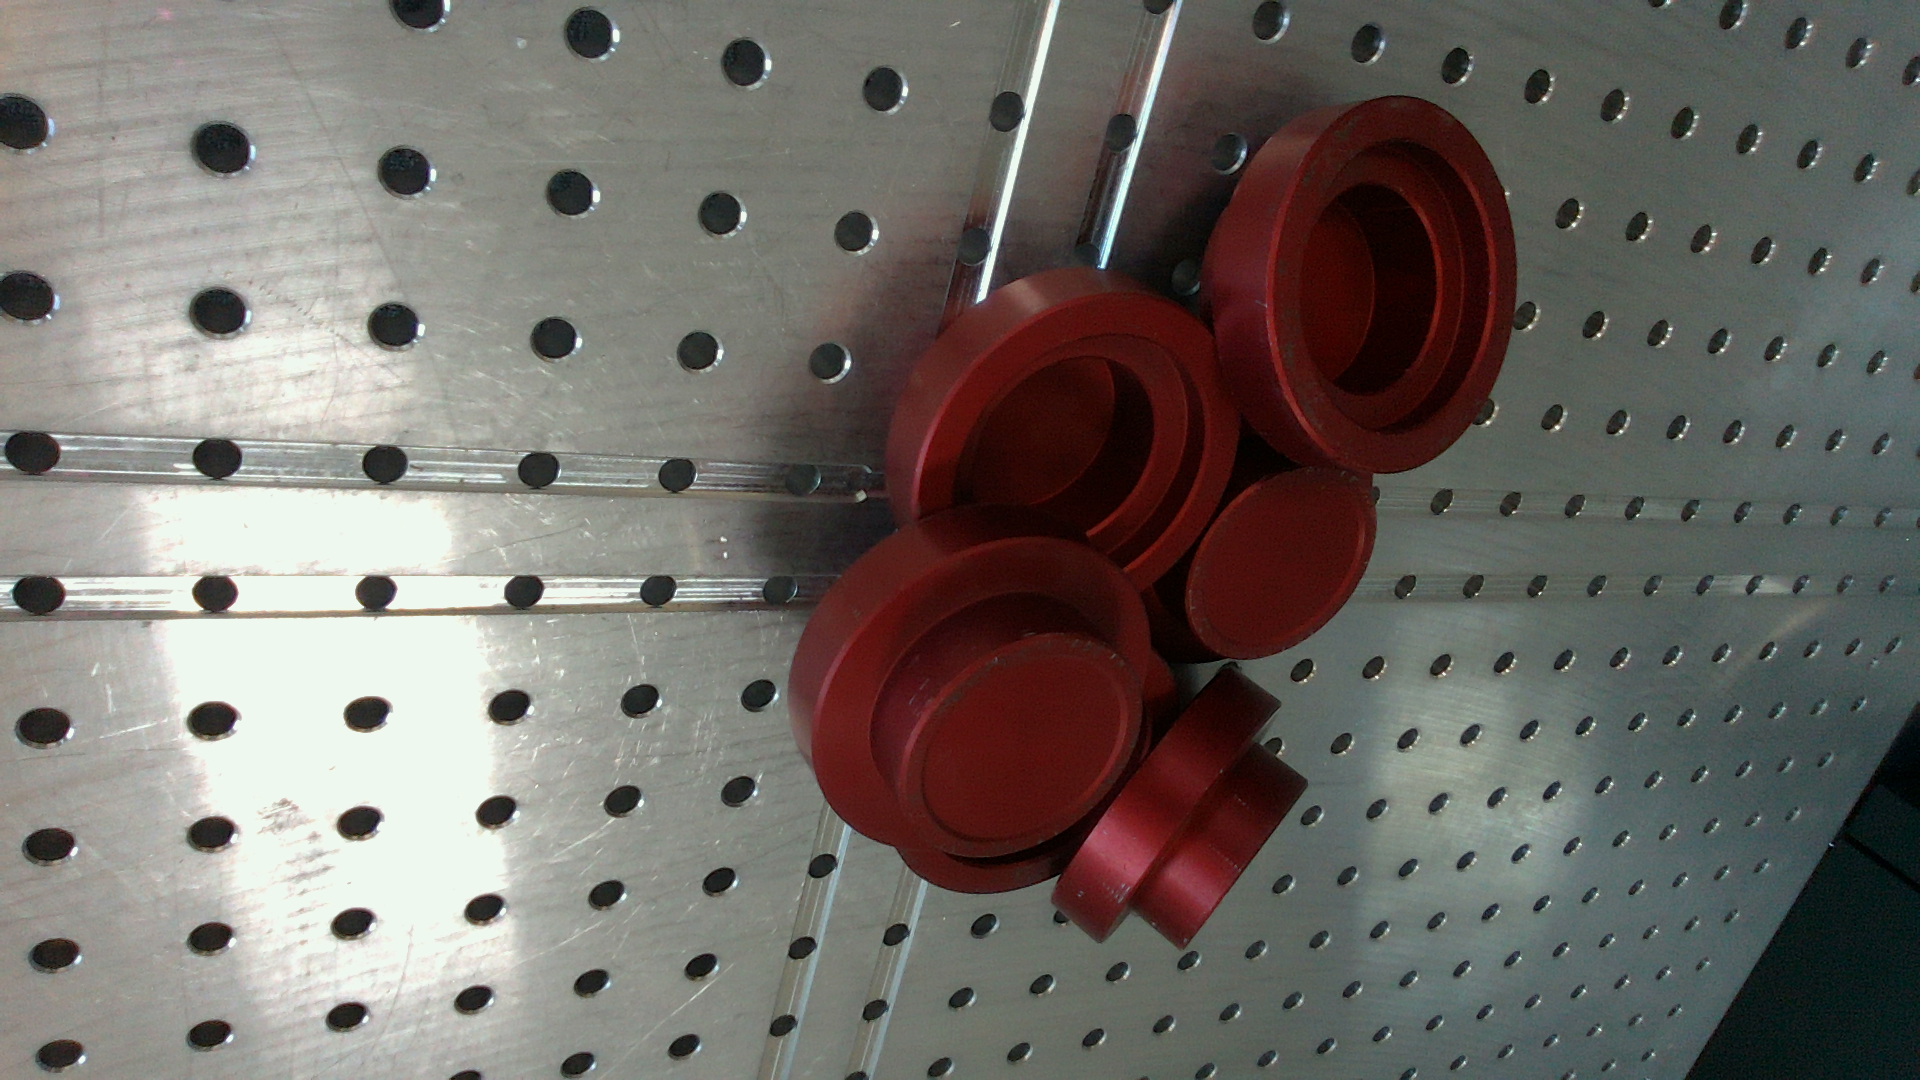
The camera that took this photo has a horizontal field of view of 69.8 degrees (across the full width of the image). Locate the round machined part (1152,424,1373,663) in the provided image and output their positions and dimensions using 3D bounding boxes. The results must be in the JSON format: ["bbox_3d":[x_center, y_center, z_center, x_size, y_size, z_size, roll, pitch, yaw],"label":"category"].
[{"bbox_3d":[0.088,-0.002,0.427,0.098,0.042,0.098,-14,124,-21],"label":"round machined part"}]

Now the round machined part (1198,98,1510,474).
[{"bbox_3d":[0.105,-0.069,0.381,0.098,0.042,0.098,-6,101,-34],"label":"round machined part"}]

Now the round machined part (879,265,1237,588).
[{"bbox_3d":[0.023,-0.028,0.376,0.098,0.042,0.098,-14,124,-21],"label":"round machined part"}]

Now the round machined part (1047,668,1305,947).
[{"bbox_3d":[0.075,0.092,0.447,0.098,0.042,0.098,-46,162,-20],"label":"round machined part"}]

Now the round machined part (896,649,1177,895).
[{"bbox_3d":[0.014,0.058,0.424,0.098,0.042,0.098,-14,124,-21],"label":"round machined part"}]

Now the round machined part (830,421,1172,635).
[{"bbox_3d":[0.008,0.011,0.391,0.098,0.042,0.098,-14,124,-21],"label":"round machined part"}]

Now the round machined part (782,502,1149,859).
[{"bbox_3d":[0.007,0.043,0.357,0.098,0.042,0.098,-14,124,-21],"label":"round machined part"}]
